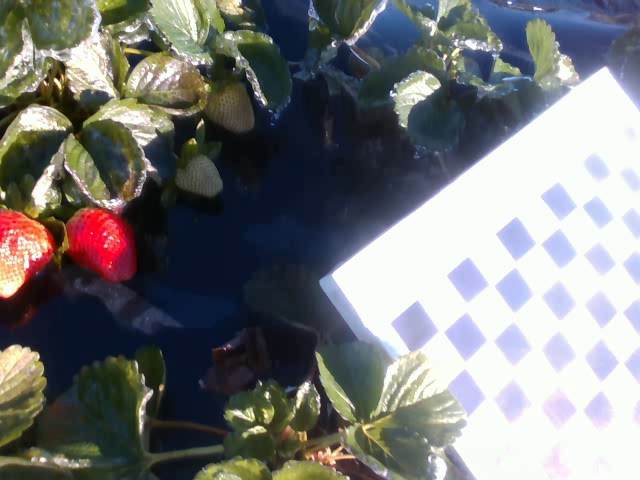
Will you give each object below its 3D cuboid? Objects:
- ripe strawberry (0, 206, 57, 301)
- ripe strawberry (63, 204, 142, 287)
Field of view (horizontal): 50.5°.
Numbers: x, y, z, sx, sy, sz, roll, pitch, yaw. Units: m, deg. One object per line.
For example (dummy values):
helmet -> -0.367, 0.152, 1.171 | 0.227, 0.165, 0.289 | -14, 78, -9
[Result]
ripe strawberry -> -0.197, 0.010, 0.433 | 0.052, 0.070, 0.040 | 17, -28, -23
ripe strawberry -> -0.145, 0.001, 0.444 | 0.043, 0.059, 0.040 | -35, -7, -25
